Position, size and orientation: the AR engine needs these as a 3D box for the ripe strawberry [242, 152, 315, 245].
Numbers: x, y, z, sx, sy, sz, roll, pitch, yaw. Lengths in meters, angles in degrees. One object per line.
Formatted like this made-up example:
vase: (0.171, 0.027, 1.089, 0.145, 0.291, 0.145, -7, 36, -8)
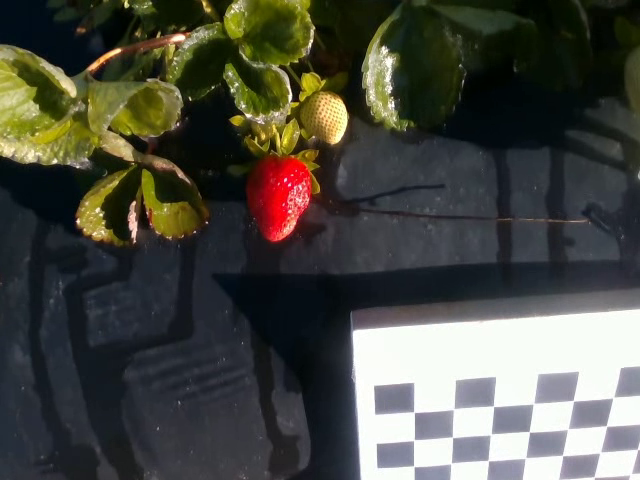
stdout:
ripe strawberry: (-0.016, -0.014, 0.263, 0.039, 0.039, 0.040, -7, -34, 15)
